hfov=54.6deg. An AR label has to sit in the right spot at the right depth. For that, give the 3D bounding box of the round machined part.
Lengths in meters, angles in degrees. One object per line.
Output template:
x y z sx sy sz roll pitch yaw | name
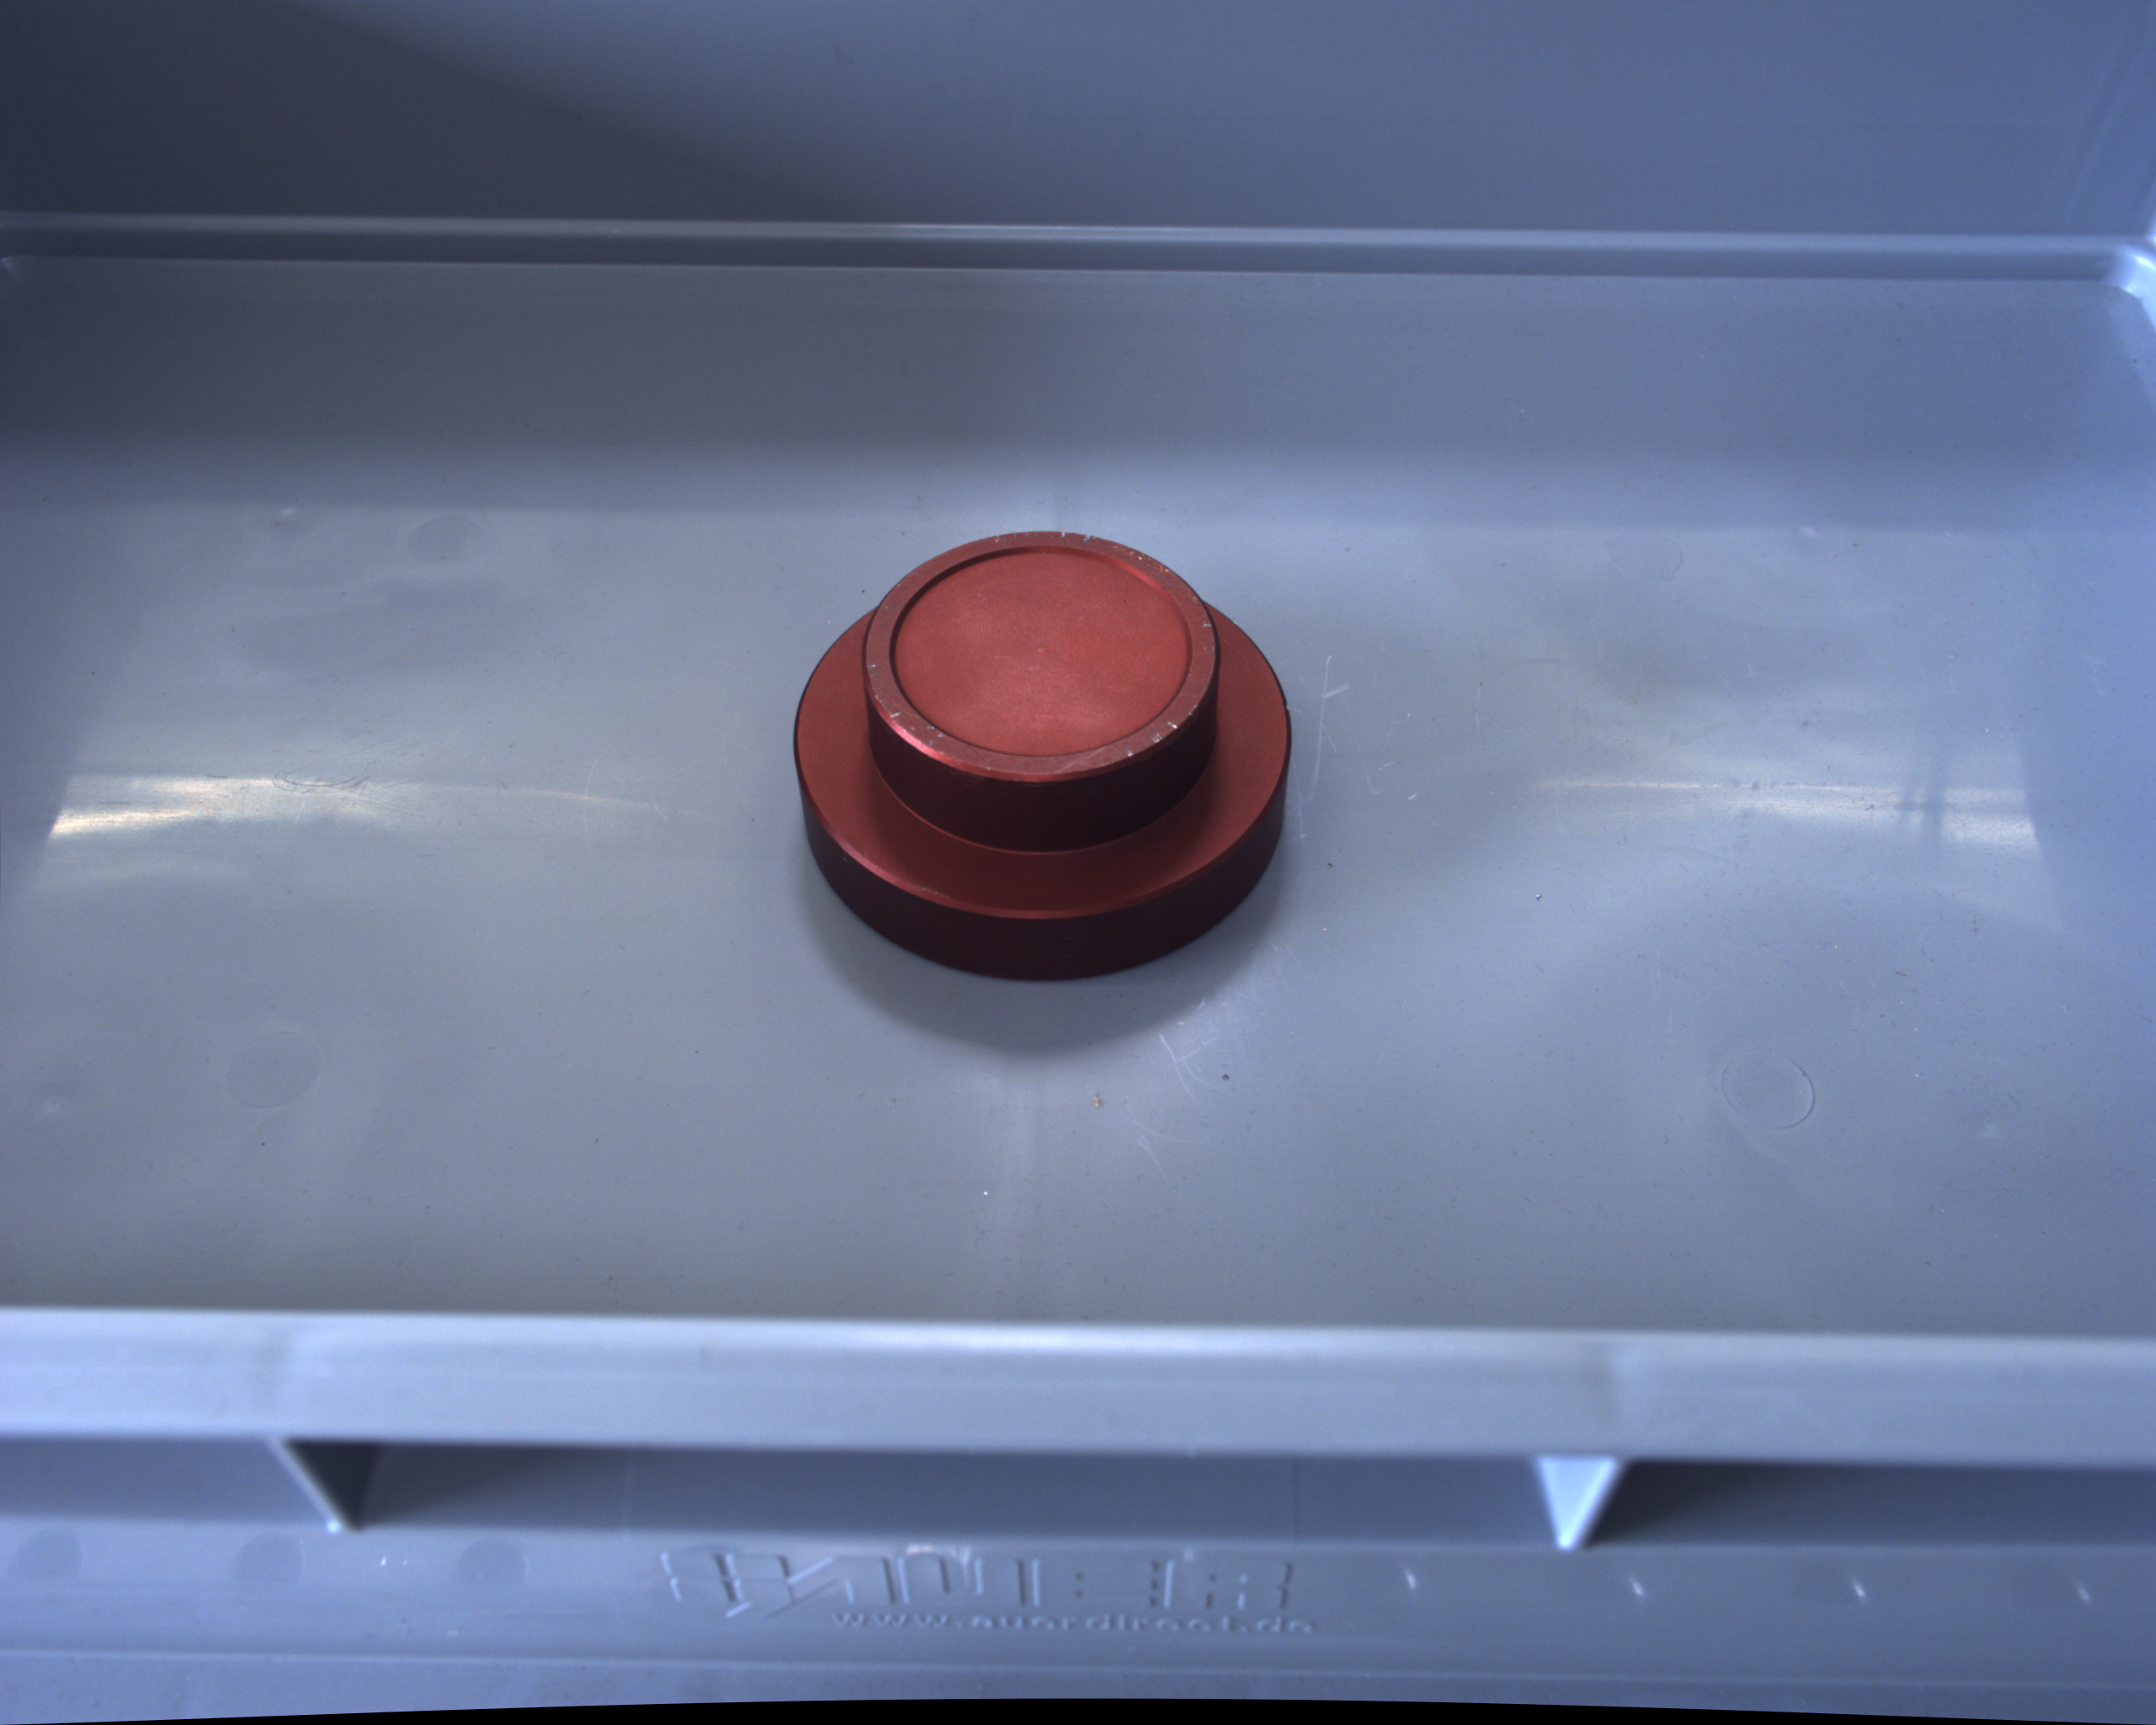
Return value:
-0.007 -0.028 0.414 0.099 0.042 0.098 0 50 0 | round machined part
